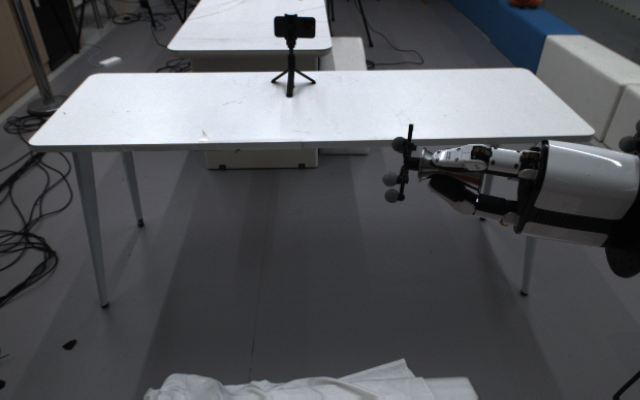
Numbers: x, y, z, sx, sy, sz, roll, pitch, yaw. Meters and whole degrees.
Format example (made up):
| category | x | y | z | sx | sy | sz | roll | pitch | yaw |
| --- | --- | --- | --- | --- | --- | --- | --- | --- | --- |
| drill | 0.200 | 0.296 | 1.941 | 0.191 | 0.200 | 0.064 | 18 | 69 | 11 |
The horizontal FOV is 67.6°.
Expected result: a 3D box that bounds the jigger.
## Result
| category | x | y | z | sx | sy | sz | roll | pitch | yaw |
| --- | --- | --- | --- | --- | --- | --- | --- | --- | --- |
| jigger | 0.150 | -0.041 | 0.540 | 0.071 | 0.043 | 0.043 | 9 | 35 | 16 |
